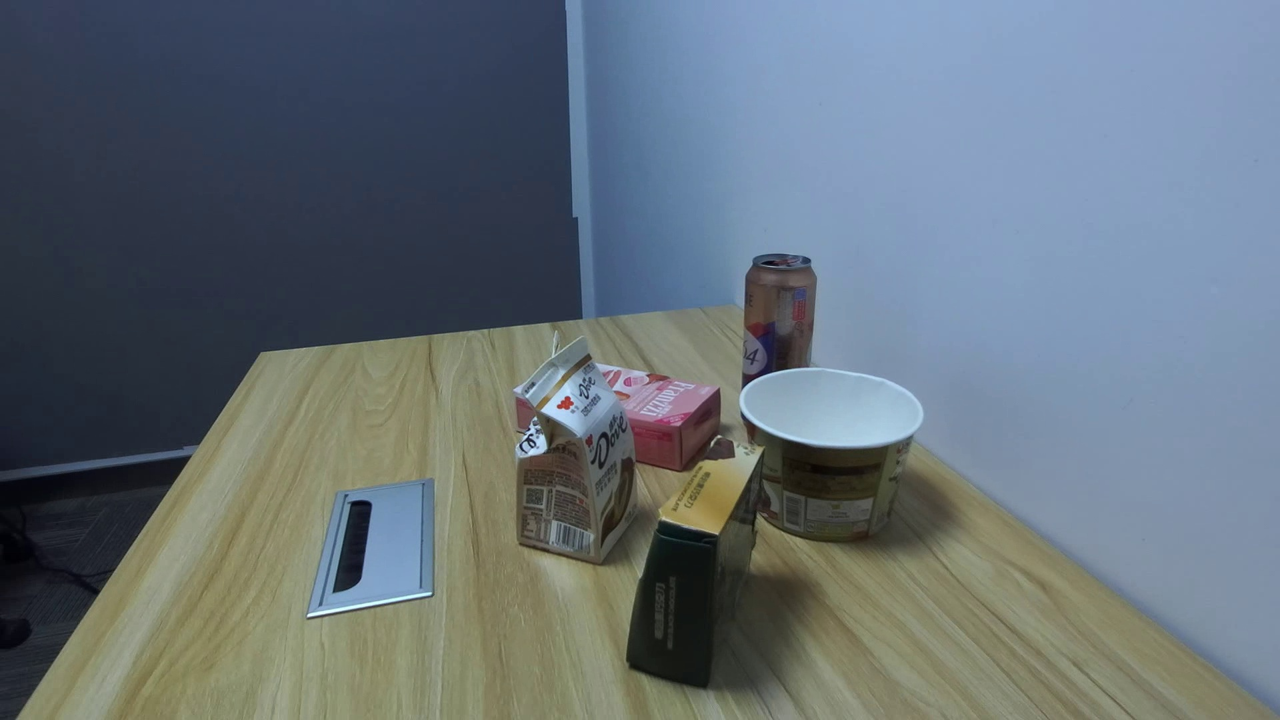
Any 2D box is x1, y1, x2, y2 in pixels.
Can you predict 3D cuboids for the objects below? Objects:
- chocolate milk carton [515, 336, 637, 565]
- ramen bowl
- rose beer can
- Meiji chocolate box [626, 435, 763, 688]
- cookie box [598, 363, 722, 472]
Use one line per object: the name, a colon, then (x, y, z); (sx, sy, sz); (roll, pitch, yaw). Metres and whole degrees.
chocolate milk carton: (-0.050, 0.060, 0.525); (0.073, 0.155, 0.076); (6, 24, 23)
ramen bowl: (0.146, 0.074, 0.558); (0.140, 0.095, 0.140); (-2, 22, 1)
rose beer can: (0.132, -0.011, 0.678); (0.068, 0.169, 0.068); (-1, 15, 0)
Meiji chocolate box: (0.039, 0.119, 0.433); (0.051, 0.117, 0.117); (14, 26, 16)
cookie box: (-0.025, 0.050, 0.690); (0.186, 0.049, 0.105); (10, 24, 27)
